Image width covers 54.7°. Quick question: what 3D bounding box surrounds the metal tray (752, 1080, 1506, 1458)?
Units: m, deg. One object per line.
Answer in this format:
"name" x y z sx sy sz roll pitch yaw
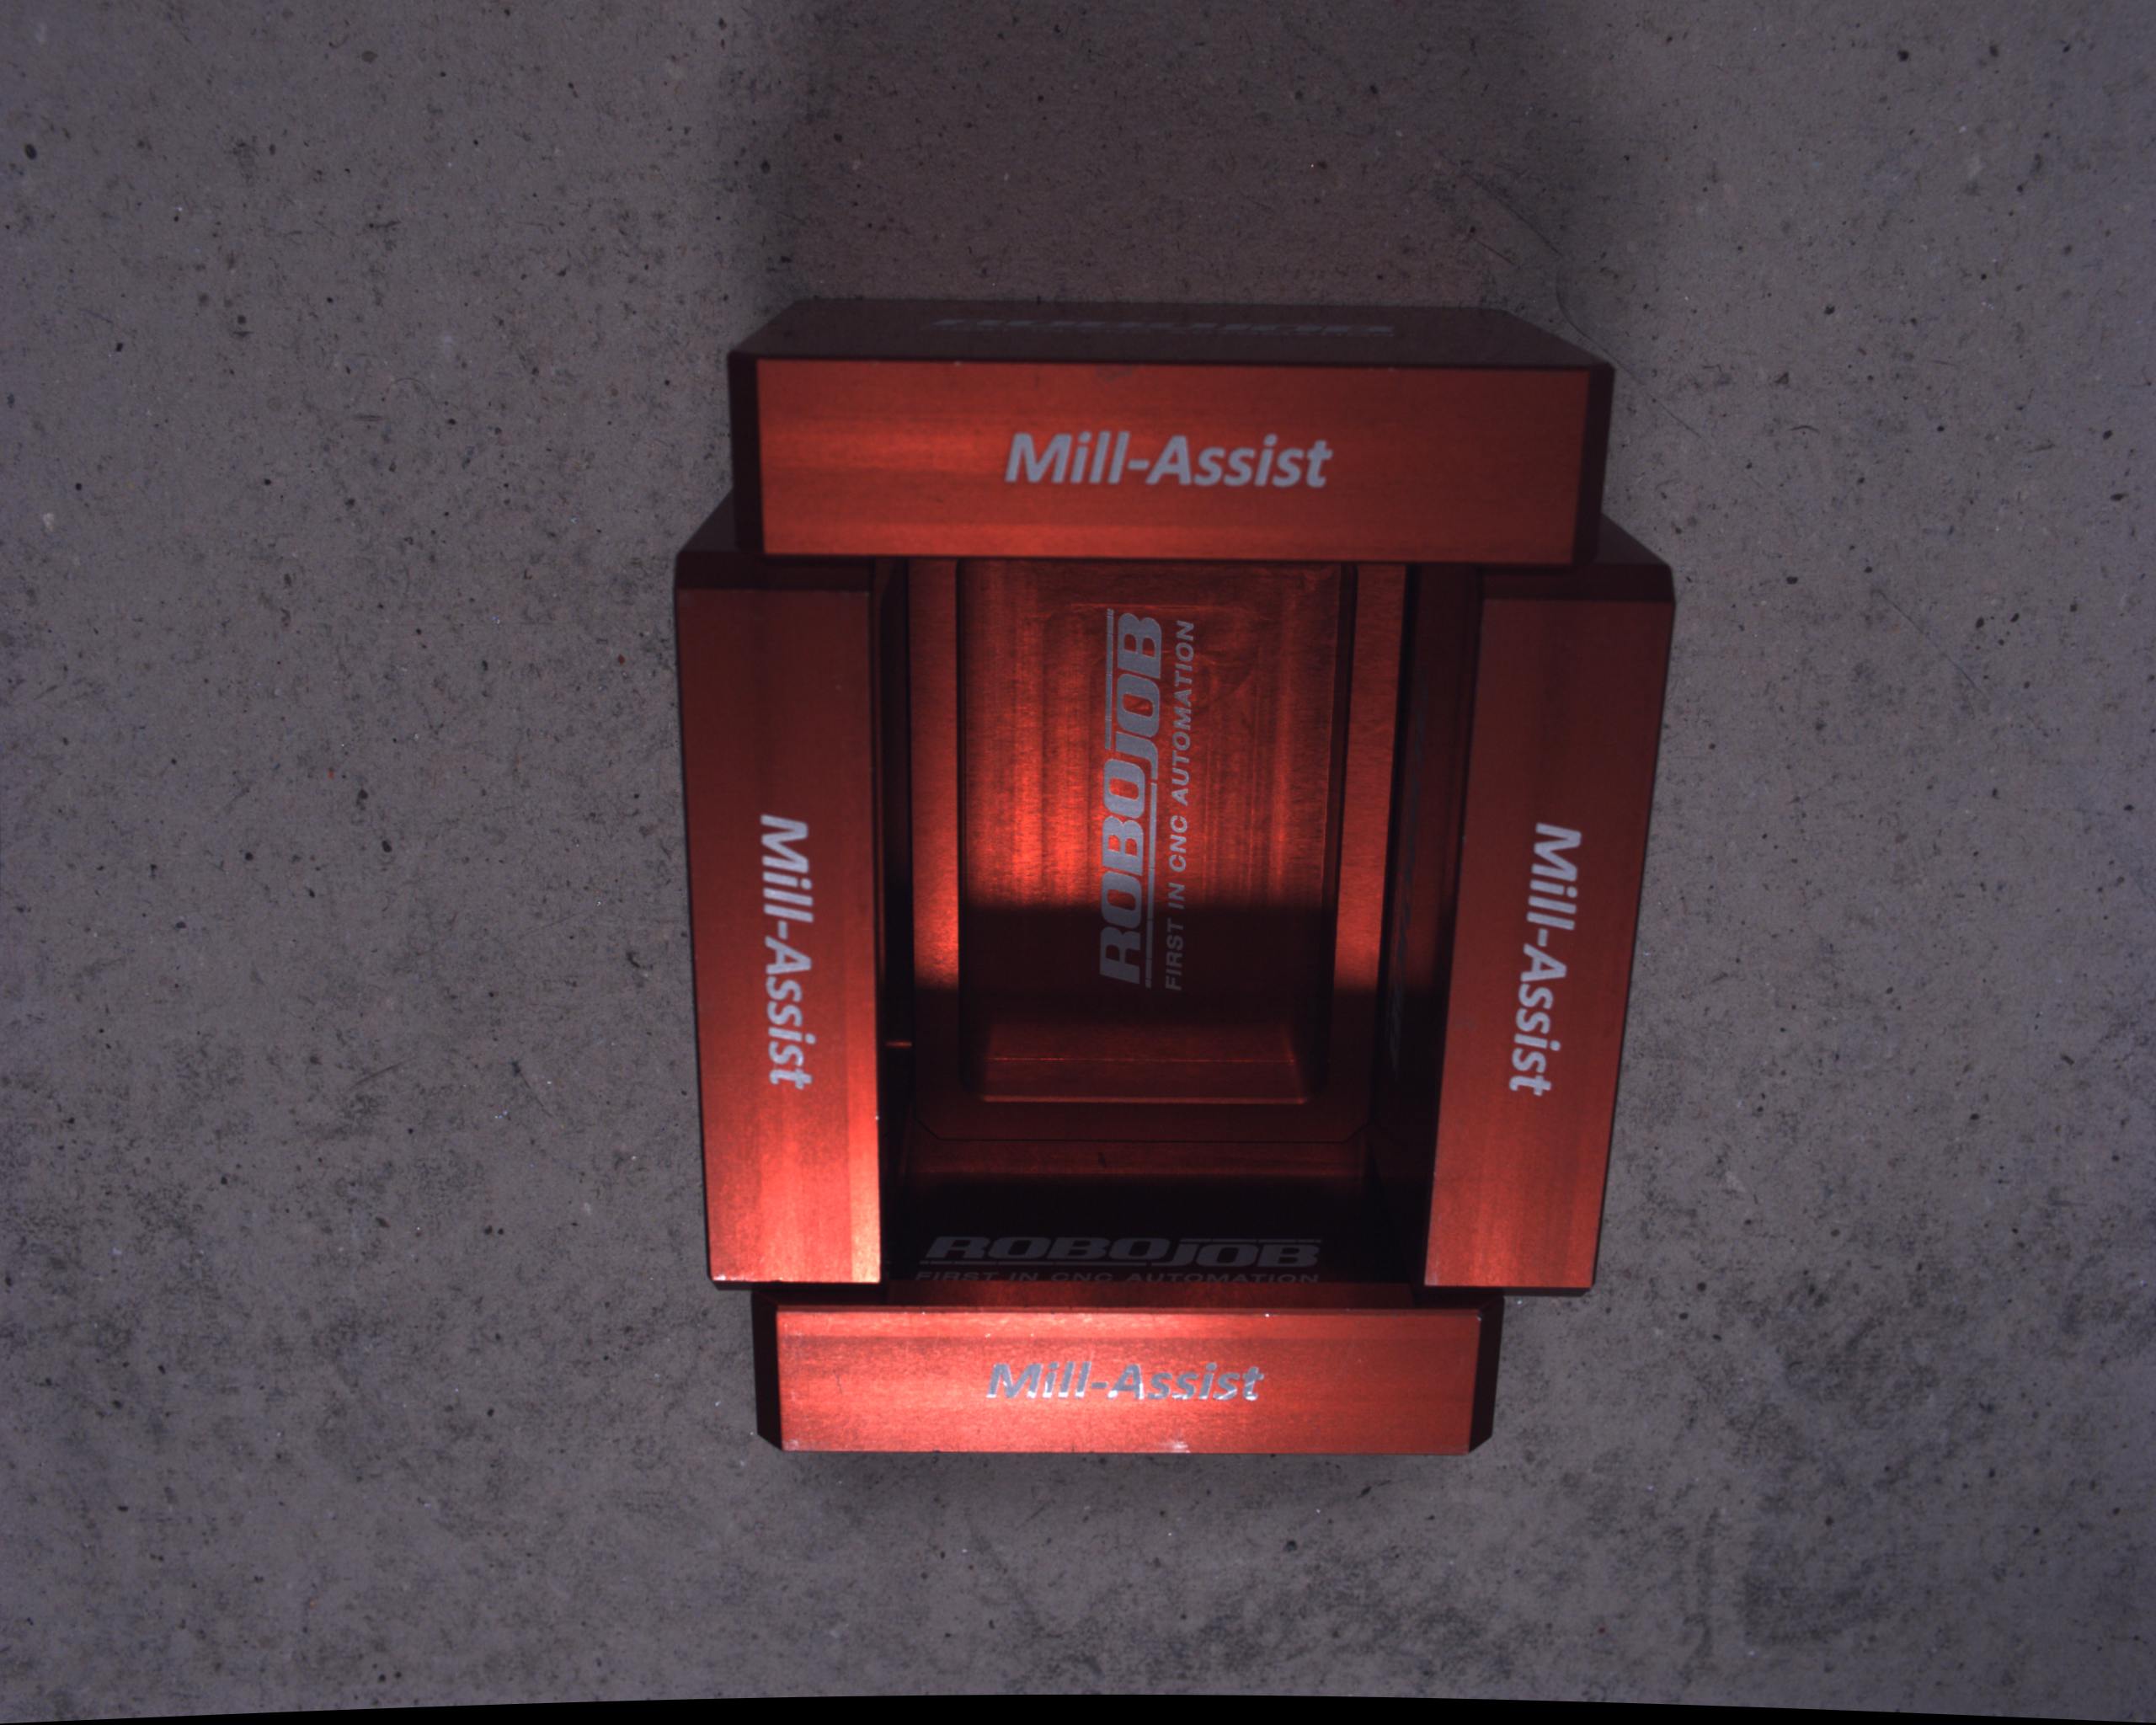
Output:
"metal tray" 0.009 0.075 0.404 0.131 0.090 0.030 1 110 -1

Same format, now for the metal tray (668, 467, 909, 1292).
"metal tray" -0.048 0.000 0.375 0.030 0.090 0.129 1 110 -1

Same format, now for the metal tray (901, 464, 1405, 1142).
"metal tray" 0.013 -0.010 0.405 0.091 0.030 0.129 1 110 -1

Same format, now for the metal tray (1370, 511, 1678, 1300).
"metal tray" 0.075 0.001 0.377 0.030 0.090 0.129 1 110 -1

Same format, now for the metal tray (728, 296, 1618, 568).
"metal tray" 0.014 -0.074 0.349 0.131 0.090 0.030 1 110 -1
